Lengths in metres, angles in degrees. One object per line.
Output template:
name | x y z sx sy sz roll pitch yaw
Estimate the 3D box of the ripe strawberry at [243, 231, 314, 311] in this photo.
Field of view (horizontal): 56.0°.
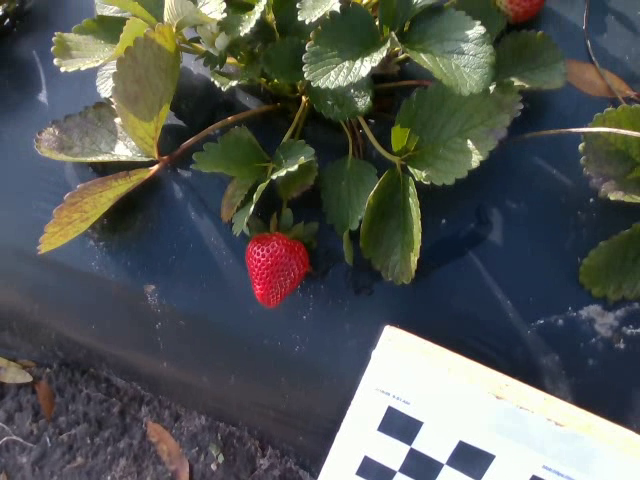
ripe strawberry | -0.024 0.017 0.304 0.041 0.047 0.041 1 -30 32
